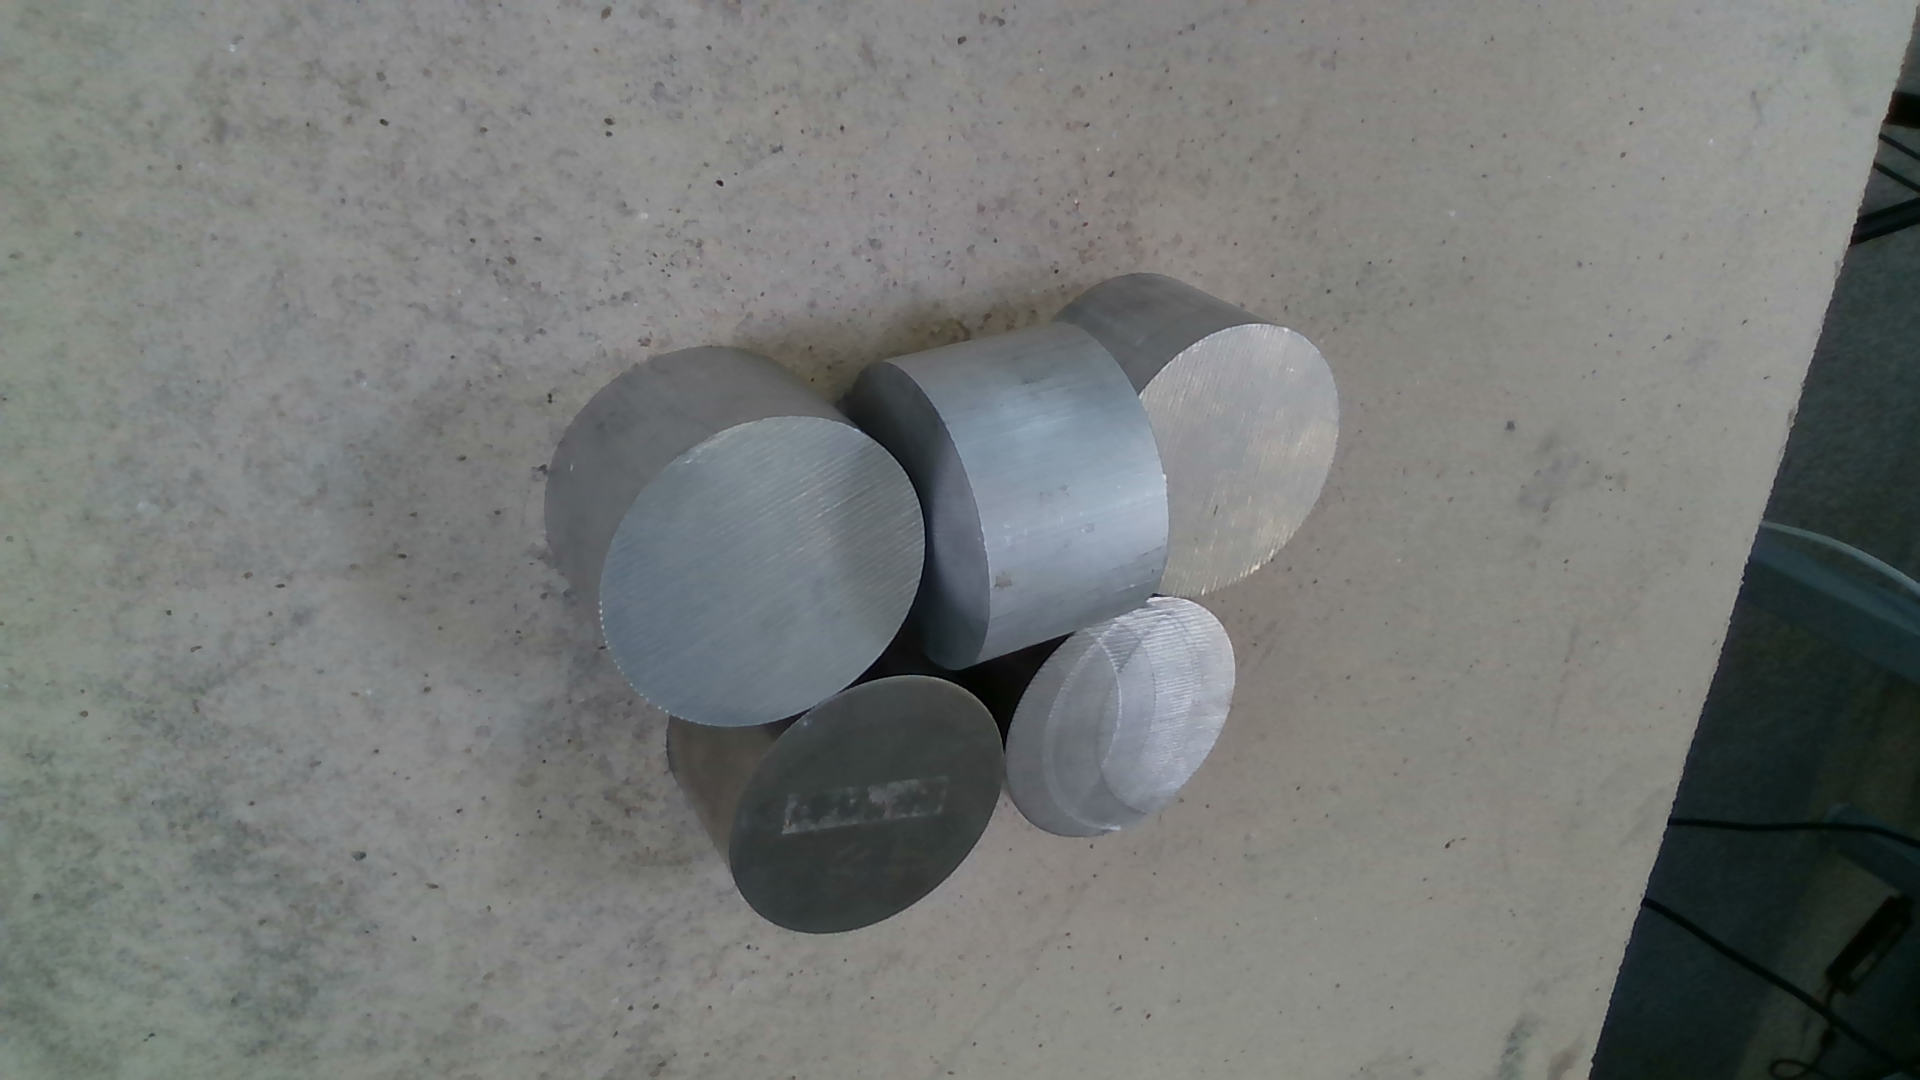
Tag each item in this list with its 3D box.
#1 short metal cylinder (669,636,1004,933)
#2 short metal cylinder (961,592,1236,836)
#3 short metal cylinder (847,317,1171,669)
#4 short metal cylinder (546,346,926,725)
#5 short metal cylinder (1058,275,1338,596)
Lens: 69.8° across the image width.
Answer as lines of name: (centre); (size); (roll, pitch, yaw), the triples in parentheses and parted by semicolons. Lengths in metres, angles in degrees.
short metal cylinder: (-0.035, 0.061, 0.385); (0.080, 0.050, 0.080); (-14, 120, -25)
short metal cylinder: (0.036, 0.042, 0.418); (0.080, 0.050, 0.080); (-14, 121, -24)
short metal cylinder: (0.010, -0.013, 0.354); (0.050, 0.080, 0.080); (-17, 123, -23)
short metal cylinder: (-0.055, -0.002, 0.339); (0.080, 0.050, 0.080); (-14, 120, -25)
short metal cylinder: (0.060, -0.031, 0.394); (0.080, 0.050, 0.080); (-14, 120, -25)
